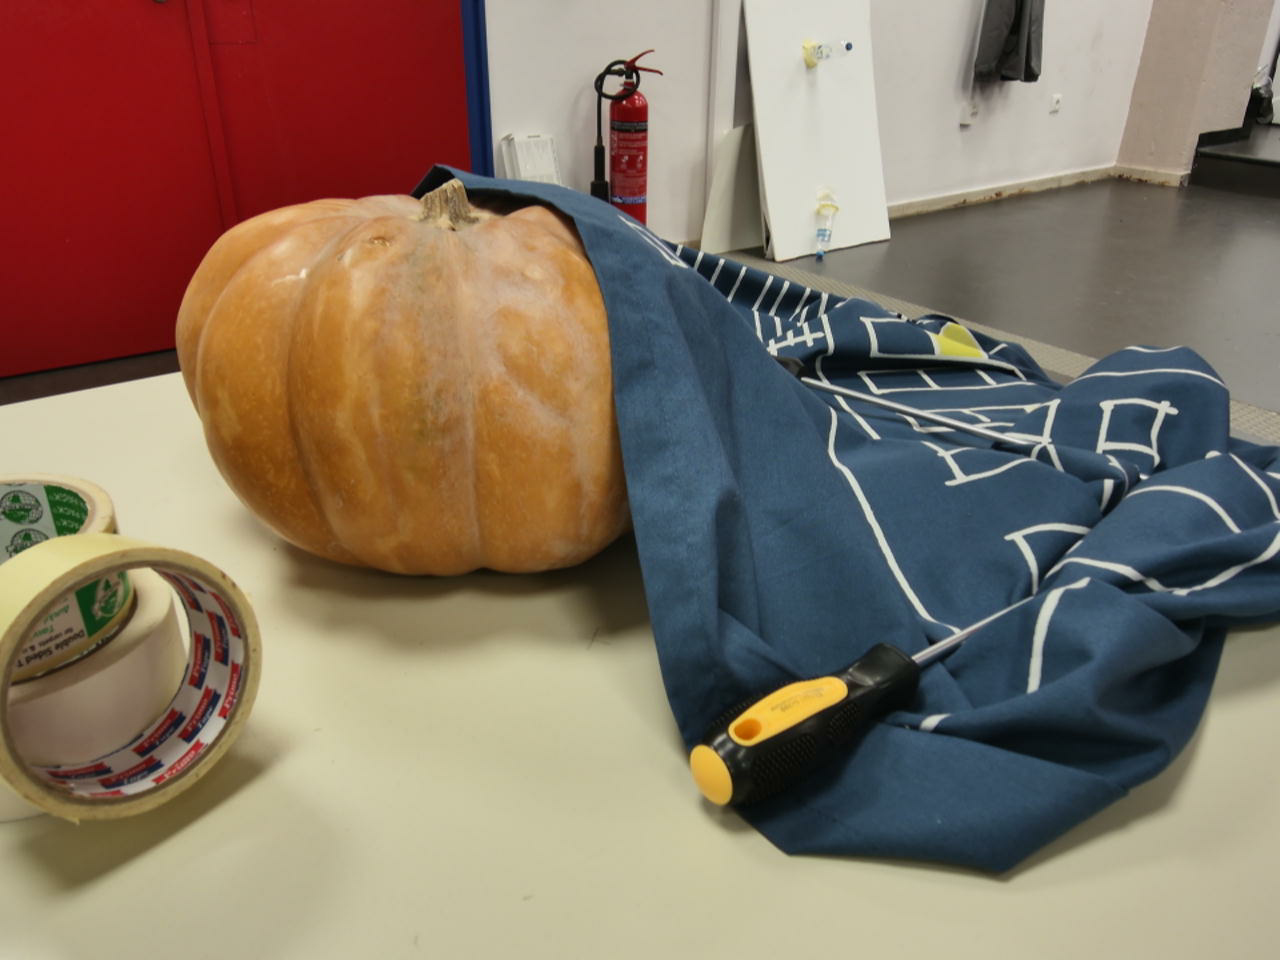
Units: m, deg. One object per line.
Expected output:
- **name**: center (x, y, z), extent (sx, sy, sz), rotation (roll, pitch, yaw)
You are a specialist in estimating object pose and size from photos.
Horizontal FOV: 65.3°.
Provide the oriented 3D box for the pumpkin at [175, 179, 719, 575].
- **pumpkin**: center (-0.091, -0.058, 0.510), extent (0.277, 0.181, 0.277), rotation (0, 25, 0)
